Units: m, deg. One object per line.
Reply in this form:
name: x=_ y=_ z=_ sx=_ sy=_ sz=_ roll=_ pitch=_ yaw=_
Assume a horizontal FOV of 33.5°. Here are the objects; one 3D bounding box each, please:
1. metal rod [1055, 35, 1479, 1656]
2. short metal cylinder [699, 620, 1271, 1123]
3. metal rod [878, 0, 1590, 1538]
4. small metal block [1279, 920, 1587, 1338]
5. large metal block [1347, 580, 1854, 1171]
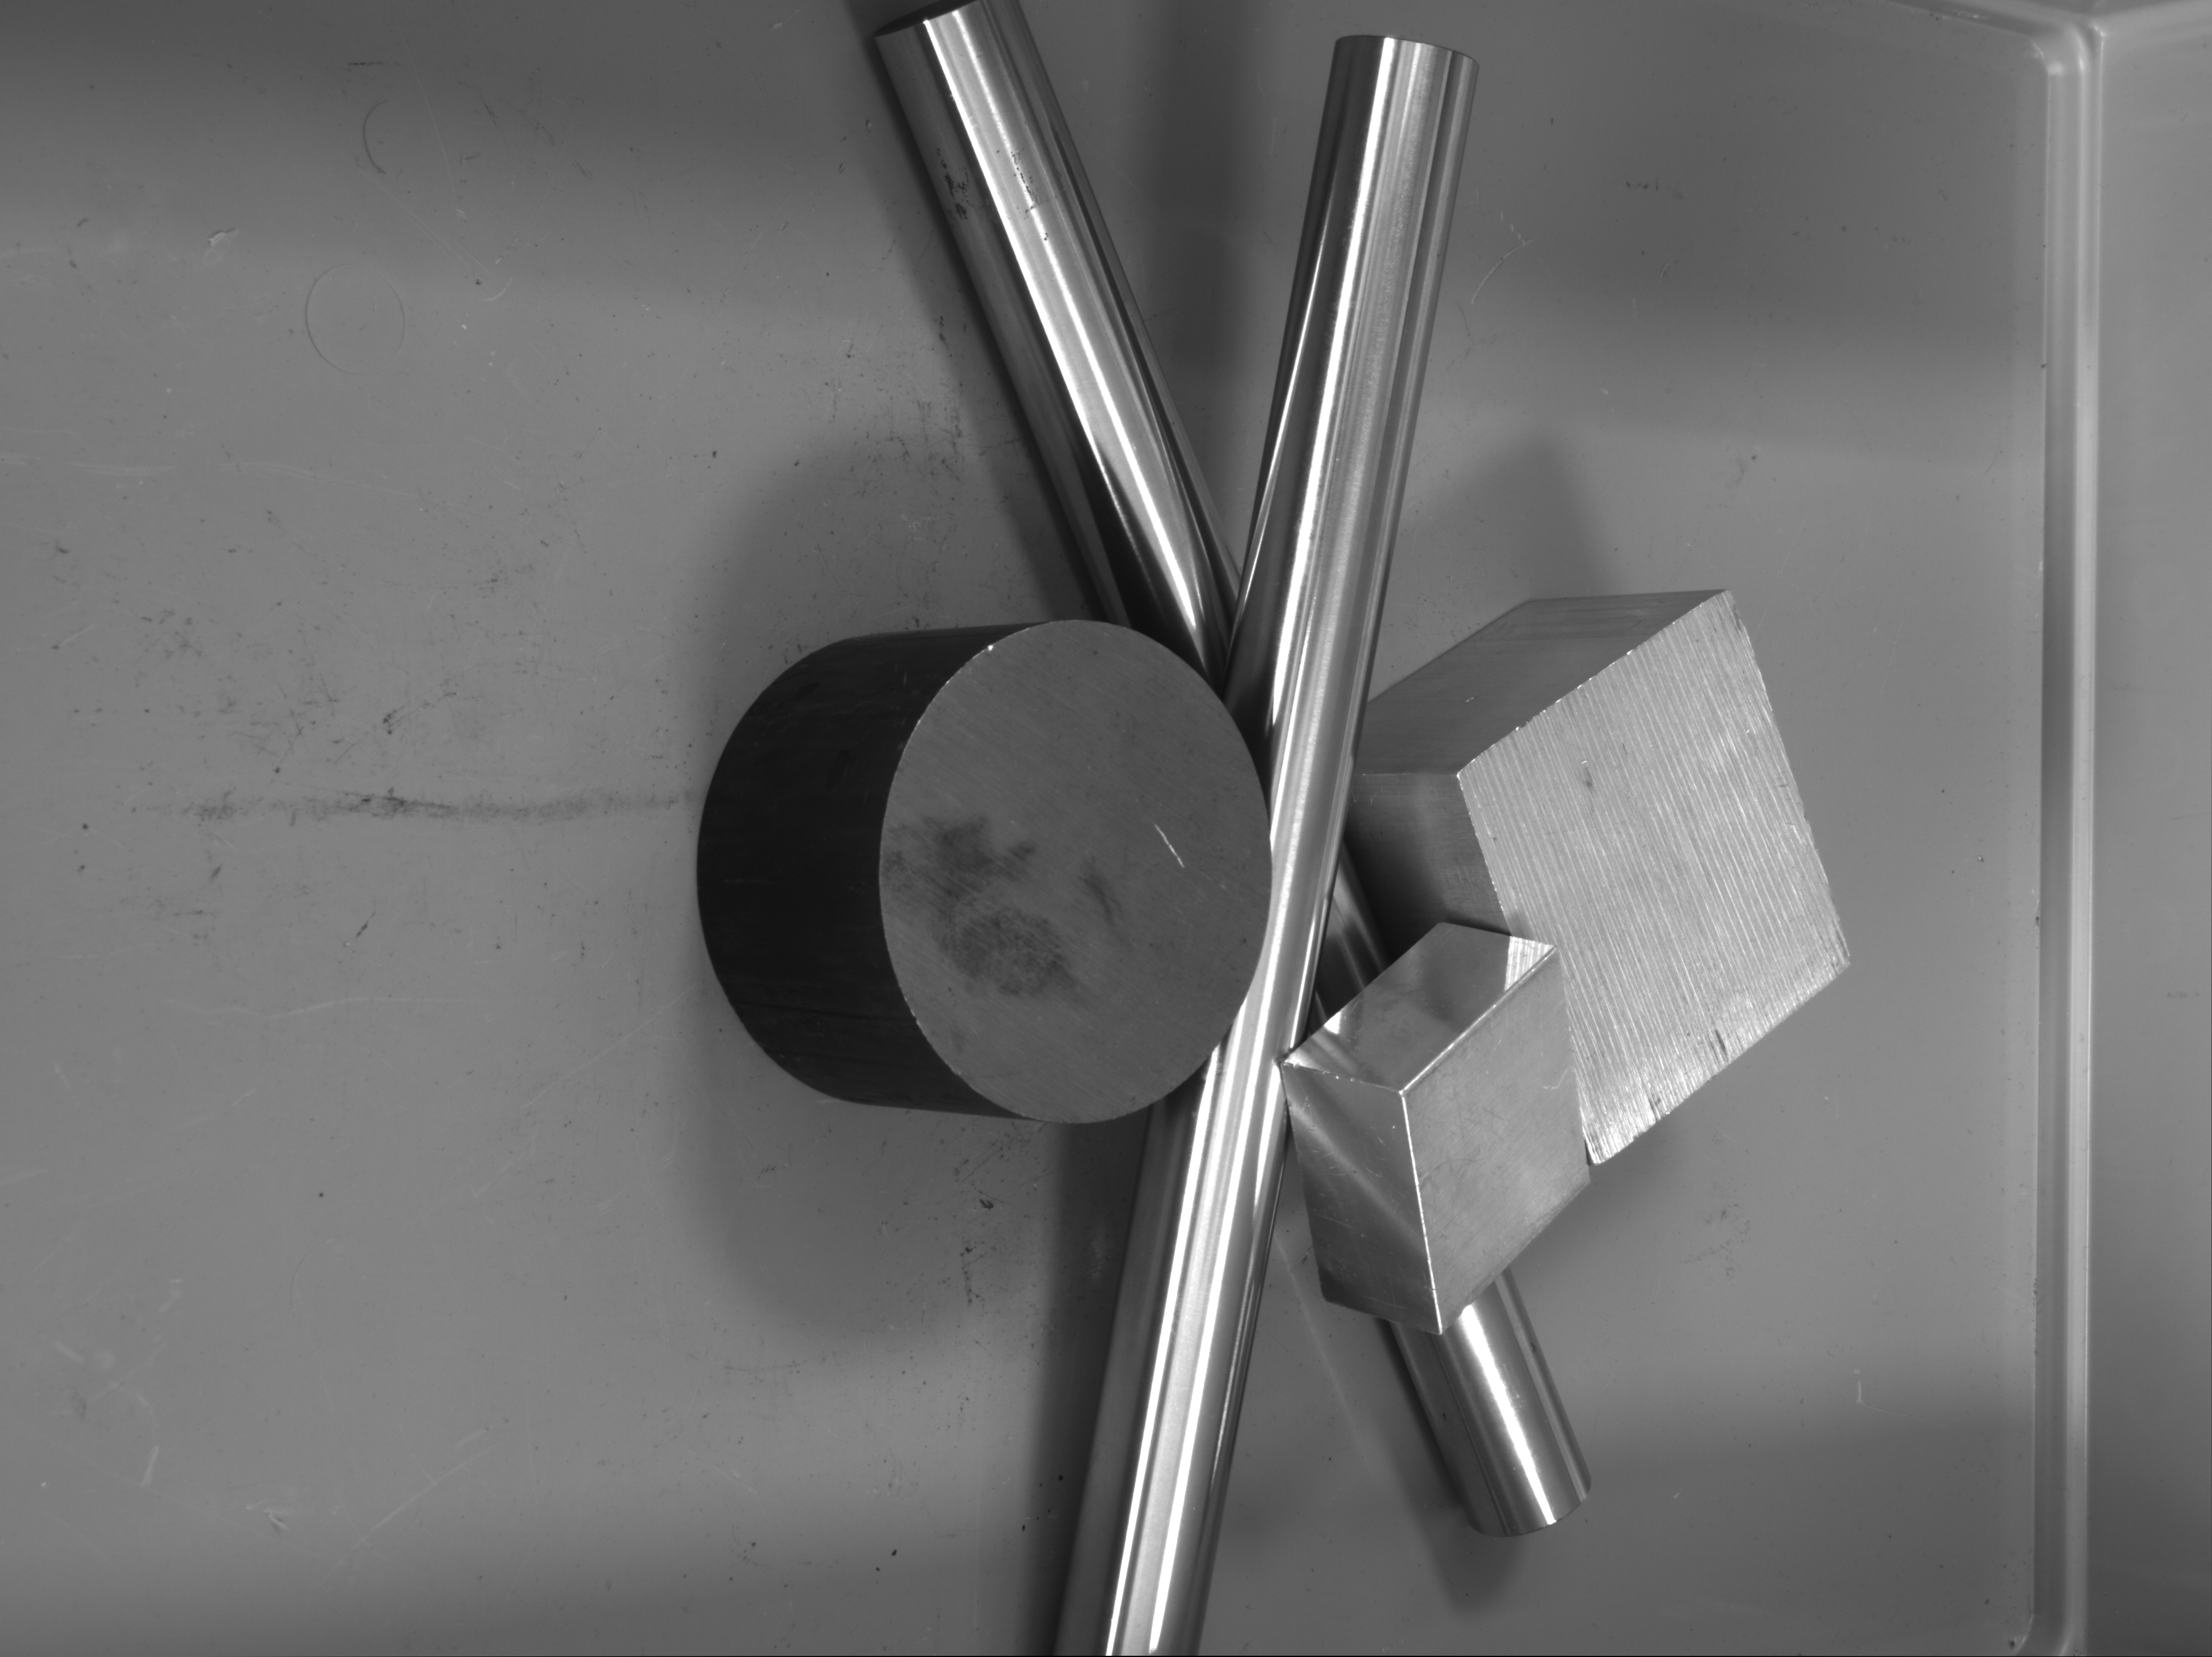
metal rod: x=0.026 y=0.016 z=0.631 sx=0.025 sy=0.025 sz=0.300 roll=8 pitch=93 yaw=-39
short metal cylinder: x=-0.019 y=0.007 z=0.603 sx=0.080 sy=0.050 sz=0.080 roll=0 pitch=90 yaw=-40
metal rod: x=0.027 y=-0.004 z=0.657 sx=0.025 sy=0.025 sz=0.300 roll=-35 pitch=112 yaw=-34
small metal block: x=0.058 y=0.052 z=0.642 sx=0.050 sy=0.025 sz=0.050 roll=-39 pitch=128 yaw=-41
large metal block: x=0.086 y=0.008 z=0.689 sx=0.080 sy=0.050 sz=0.080 roll=-34 pitch=111 yaw=-35
